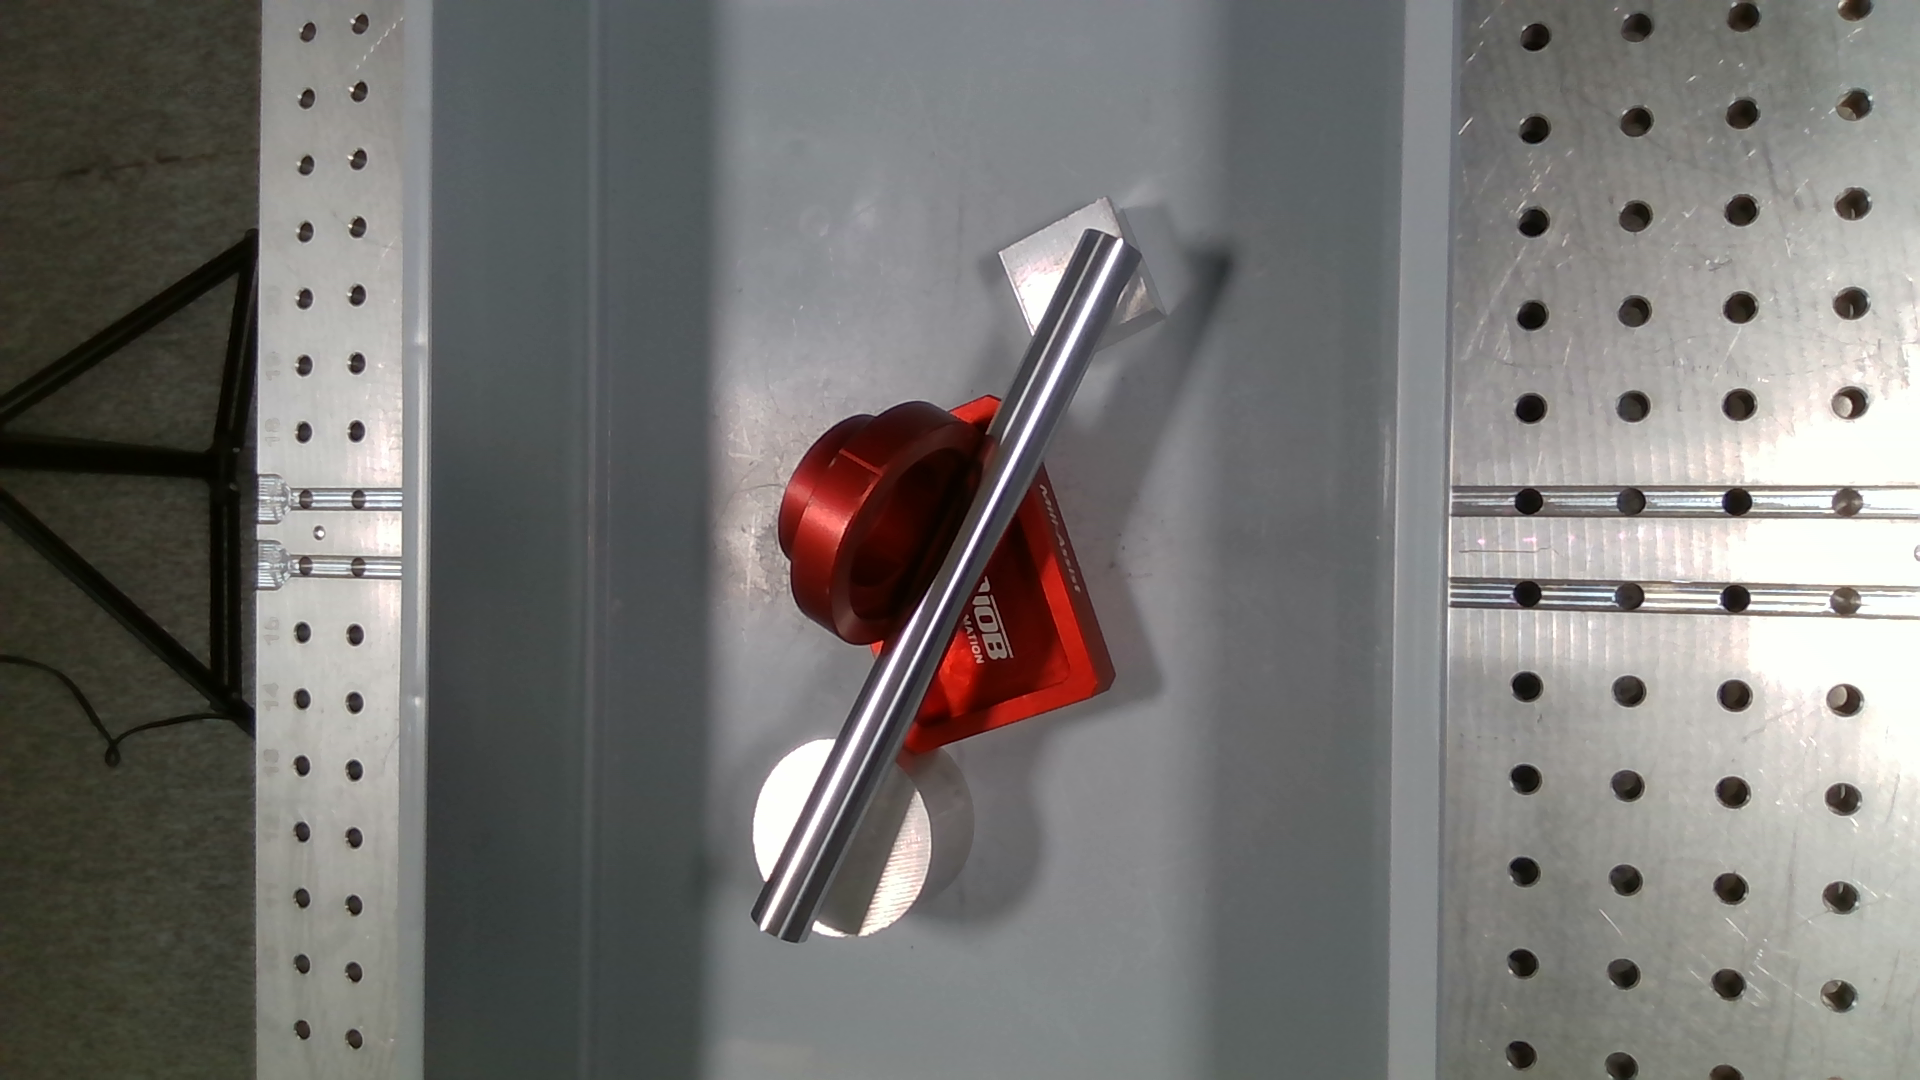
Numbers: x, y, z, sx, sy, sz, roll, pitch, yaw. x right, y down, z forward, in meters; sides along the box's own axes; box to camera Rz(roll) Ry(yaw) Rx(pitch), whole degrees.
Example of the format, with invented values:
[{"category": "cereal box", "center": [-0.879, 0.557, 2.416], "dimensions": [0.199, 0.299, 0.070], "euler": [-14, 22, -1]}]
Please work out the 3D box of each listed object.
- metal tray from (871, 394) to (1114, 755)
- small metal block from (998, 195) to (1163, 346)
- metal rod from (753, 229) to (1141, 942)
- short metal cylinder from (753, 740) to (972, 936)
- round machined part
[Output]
[{"category": "metal tray", "center": [0.002, 0.015, 0.581], "dimensions": [0.090, 0.030, 0.130], "euler": [-21, 84, 19]}, {"category": "small metal block", "center": [0.050, -0.105, 0.565], "dimensions": [0.050, 0.025, 0.050], "euler": [-24, 82, 19]}, {"category": "metal rod", "center": [-0.006, 0.020, 0.543], "dimensions": [0.025, 0.025, 0.300], "euler": [27, 93, 18]}, {"category": "short metal cylinder", "center": [-0.041, 0.122, 0.587], "dimensions": [0.080, 0.050, 0.080], "euler": [0, 90, 20]}, {"category": "round machined part", "center": [-0.035, -0.011, 0.544], "dimensions": [0.042, 0.098, 0.098], "euler": [31, 101, 25]}]
